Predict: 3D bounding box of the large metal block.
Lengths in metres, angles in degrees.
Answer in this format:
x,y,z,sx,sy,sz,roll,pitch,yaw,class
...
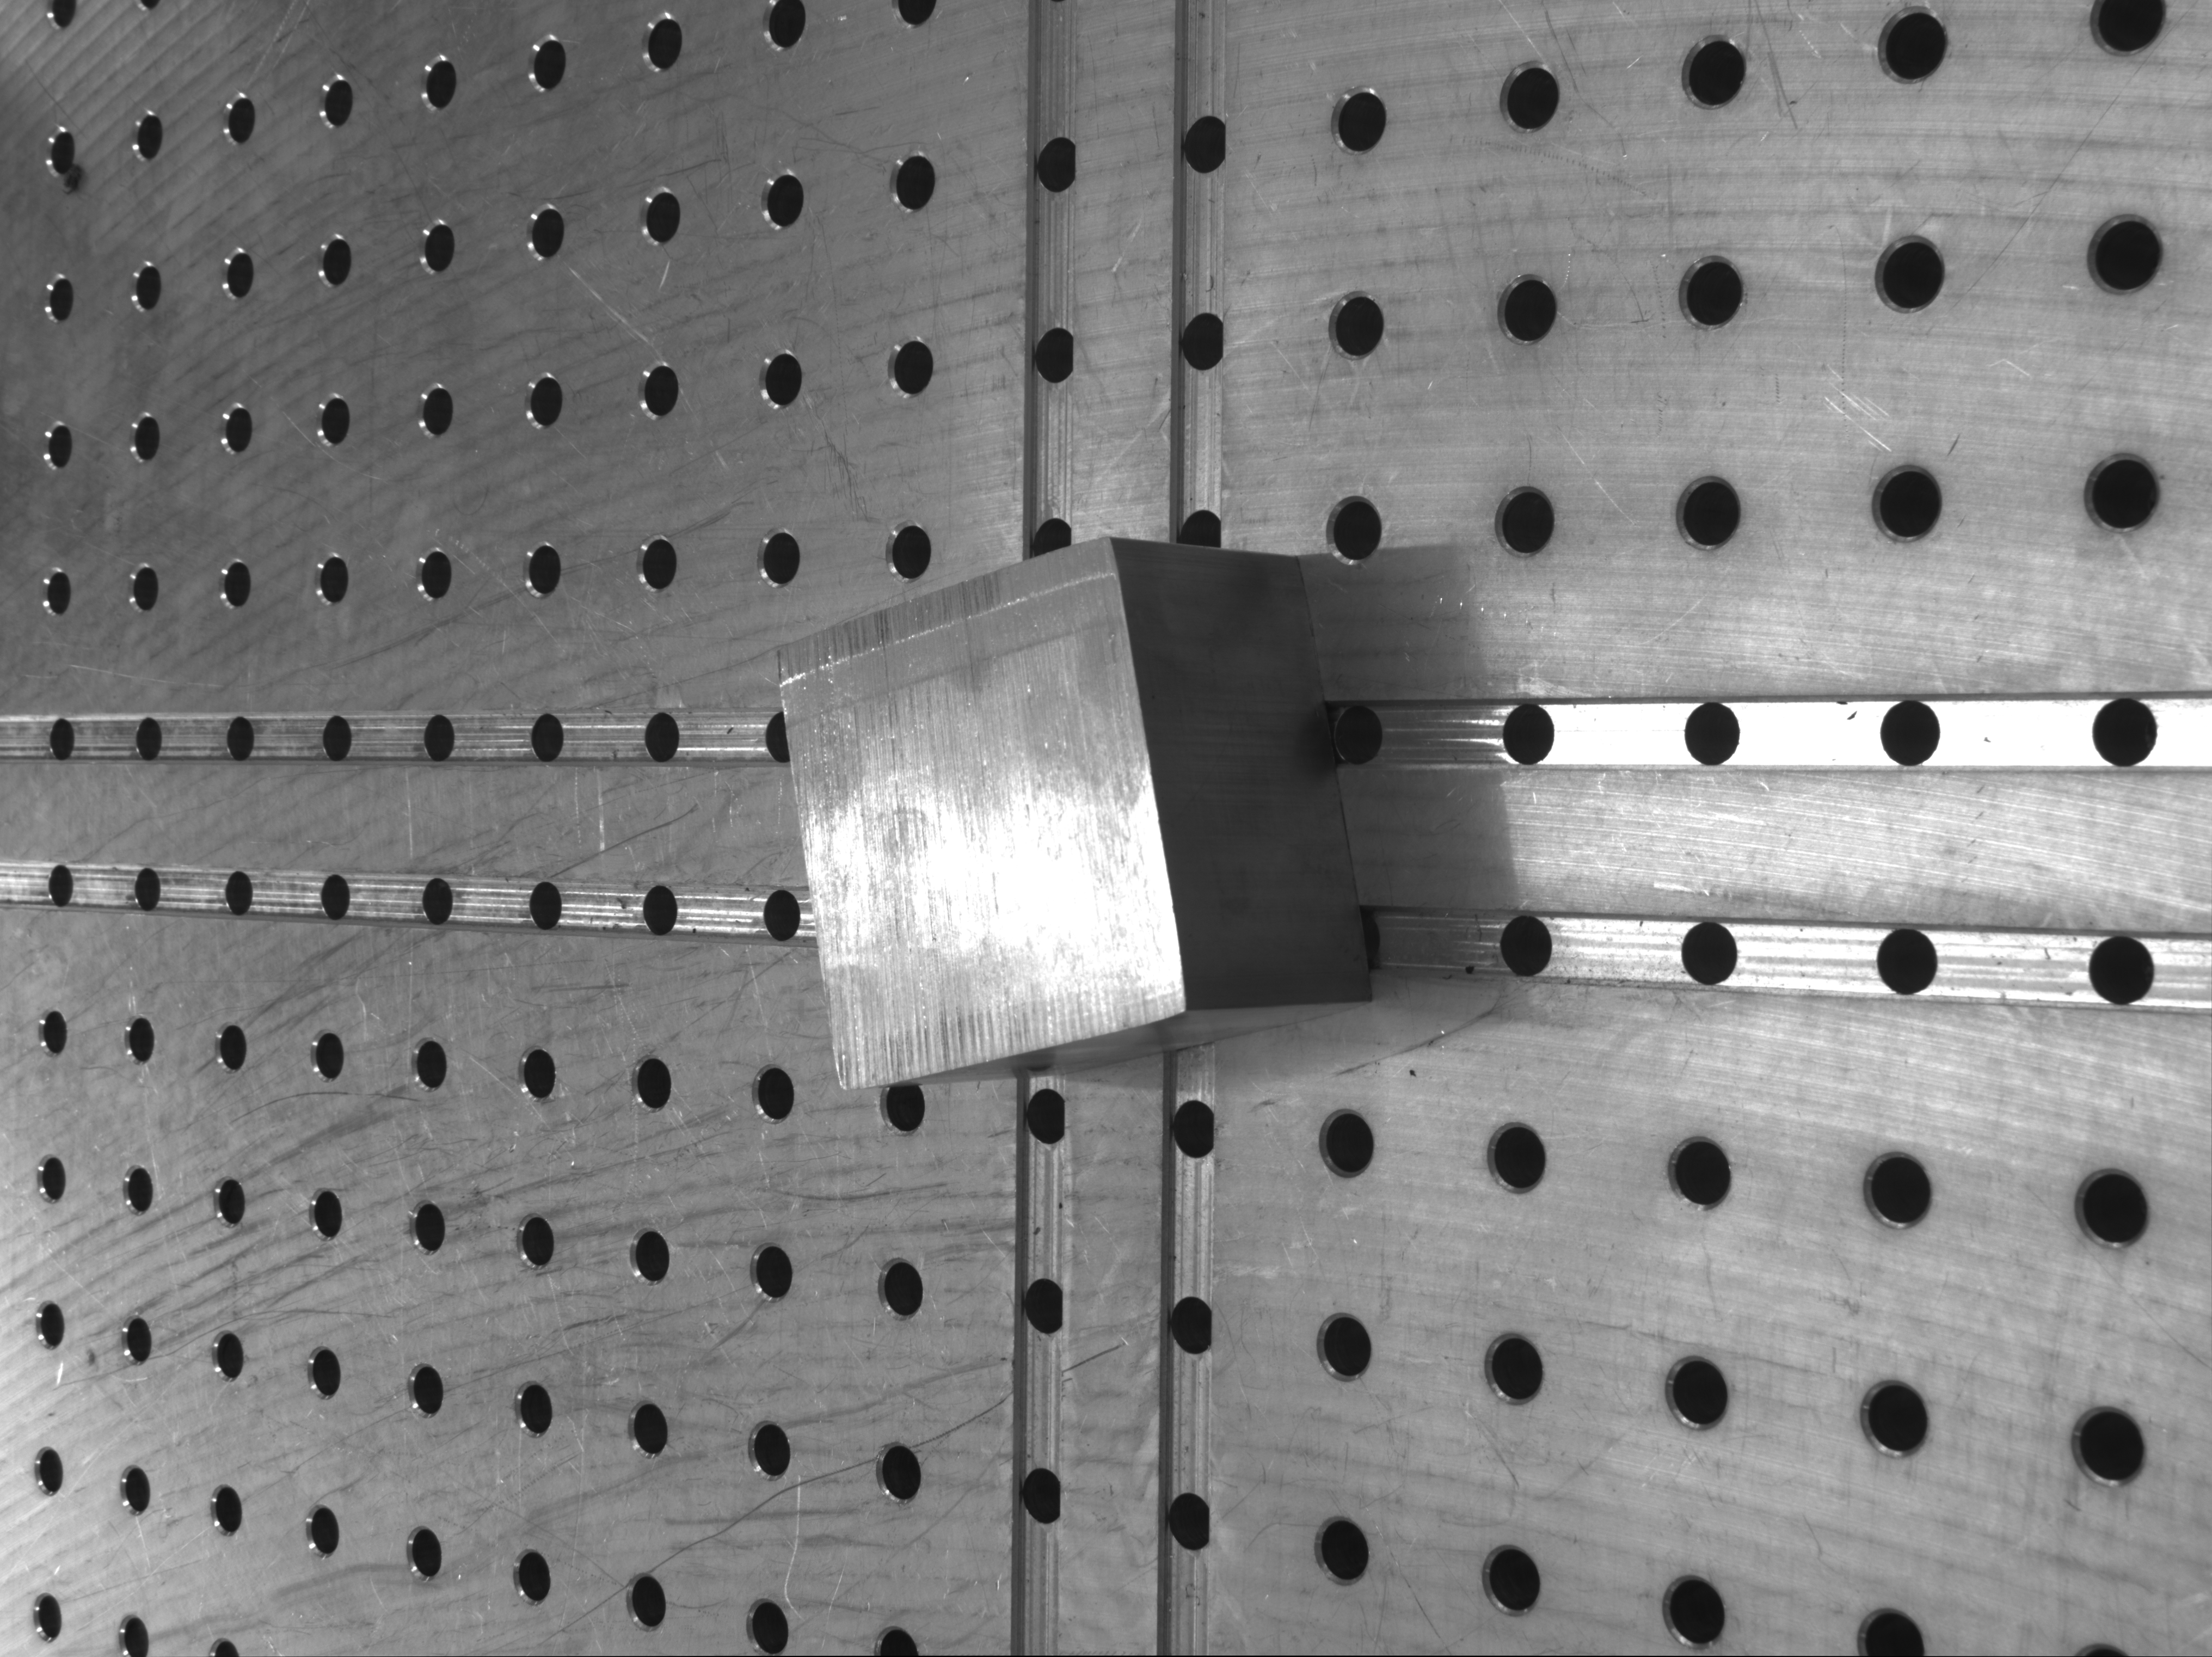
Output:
x,y,z,sx,sy,sz,roll,pitch,yaw,class
-0.007,-0.001,0.637,0.080,0.050,0.080,-16,80,39,large metal block
